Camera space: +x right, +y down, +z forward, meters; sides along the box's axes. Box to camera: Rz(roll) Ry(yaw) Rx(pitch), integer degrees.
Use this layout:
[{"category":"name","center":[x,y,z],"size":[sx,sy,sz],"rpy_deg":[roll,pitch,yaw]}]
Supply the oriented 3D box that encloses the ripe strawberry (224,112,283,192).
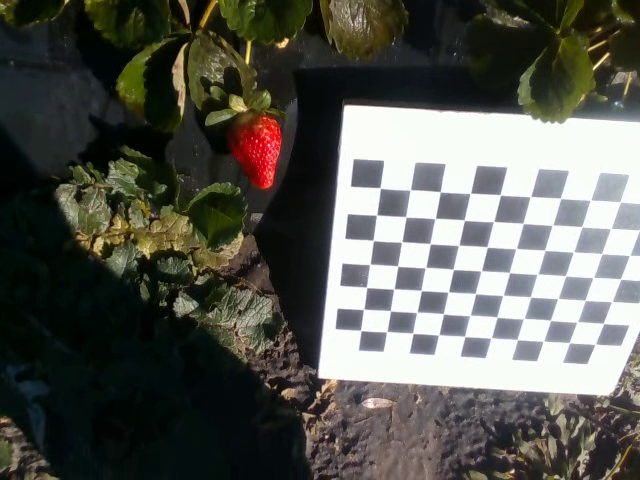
[{"category":"ripe strawberry","center":[-0.049,-0.068,0.476],"size":[0.048,0.069,0.040],"rpy_deg":[-12,23,8]}]
